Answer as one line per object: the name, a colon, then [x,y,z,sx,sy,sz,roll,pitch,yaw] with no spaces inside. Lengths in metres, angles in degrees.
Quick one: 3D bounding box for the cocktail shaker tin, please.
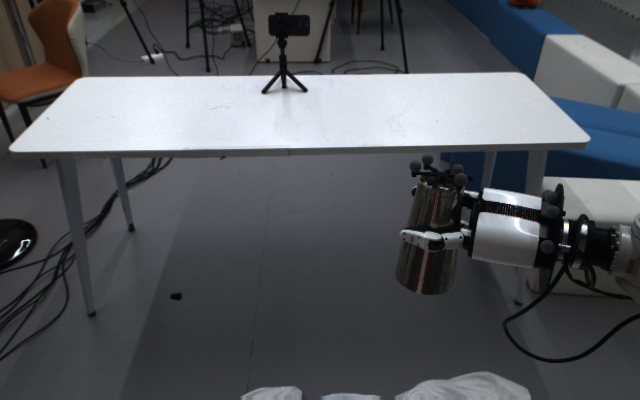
cocktail shaker tin: [0.172,0.047,0.740,0.093,0.170,0.093,3,26,-1]
